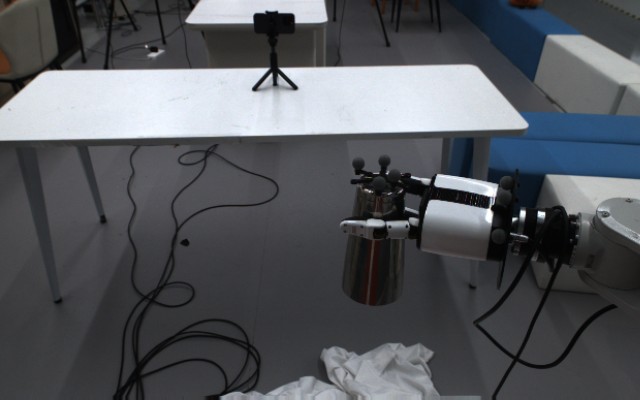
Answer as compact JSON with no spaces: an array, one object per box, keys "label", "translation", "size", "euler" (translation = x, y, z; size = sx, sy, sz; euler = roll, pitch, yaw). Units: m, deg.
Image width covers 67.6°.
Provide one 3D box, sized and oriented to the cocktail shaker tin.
[{"label":"cocktail shaker tin","translation":[0.083,0.051,0.695],"size":[0.093,0.170,0.093],"euler":[1,27,-1]}]
